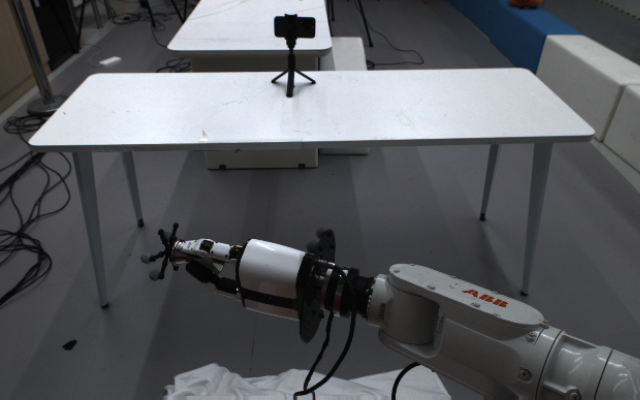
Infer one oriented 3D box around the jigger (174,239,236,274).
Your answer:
[{"bbox_3d":[-0.174,0.079,0.718,0.071,0.043,0.043,8,35,15],"label":"jigger"}]
